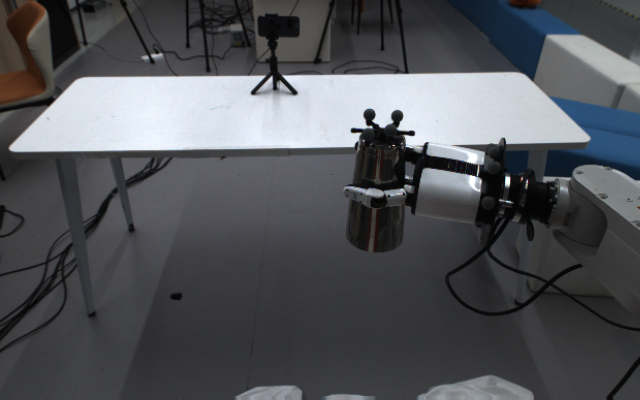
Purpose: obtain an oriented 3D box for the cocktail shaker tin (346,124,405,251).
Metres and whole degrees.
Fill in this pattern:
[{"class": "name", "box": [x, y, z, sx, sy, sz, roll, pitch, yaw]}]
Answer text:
[{"class": "cocktail shaker tin", "box": [0.089, -0.018, 0.726, 0.093, 0.170, 0.093, 0, 33, 0]}]
